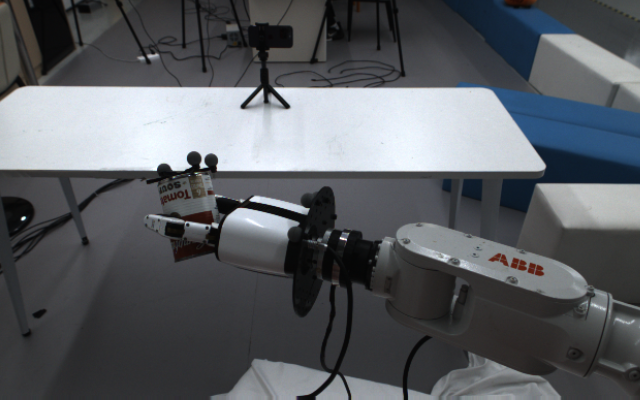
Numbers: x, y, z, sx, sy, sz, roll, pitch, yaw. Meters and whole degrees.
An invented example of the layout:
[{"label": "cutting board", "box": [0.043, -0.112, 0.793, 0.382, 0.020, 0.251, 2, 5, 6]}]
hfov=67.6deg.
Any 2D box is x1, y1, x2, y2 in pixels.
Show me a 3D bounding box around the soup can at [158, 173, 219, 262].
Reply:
[{"label": "soup can", "box": [-0.161, 0.023, 0.615, 0.067, 0.101, 0.067, -14, -2, -1]}]
